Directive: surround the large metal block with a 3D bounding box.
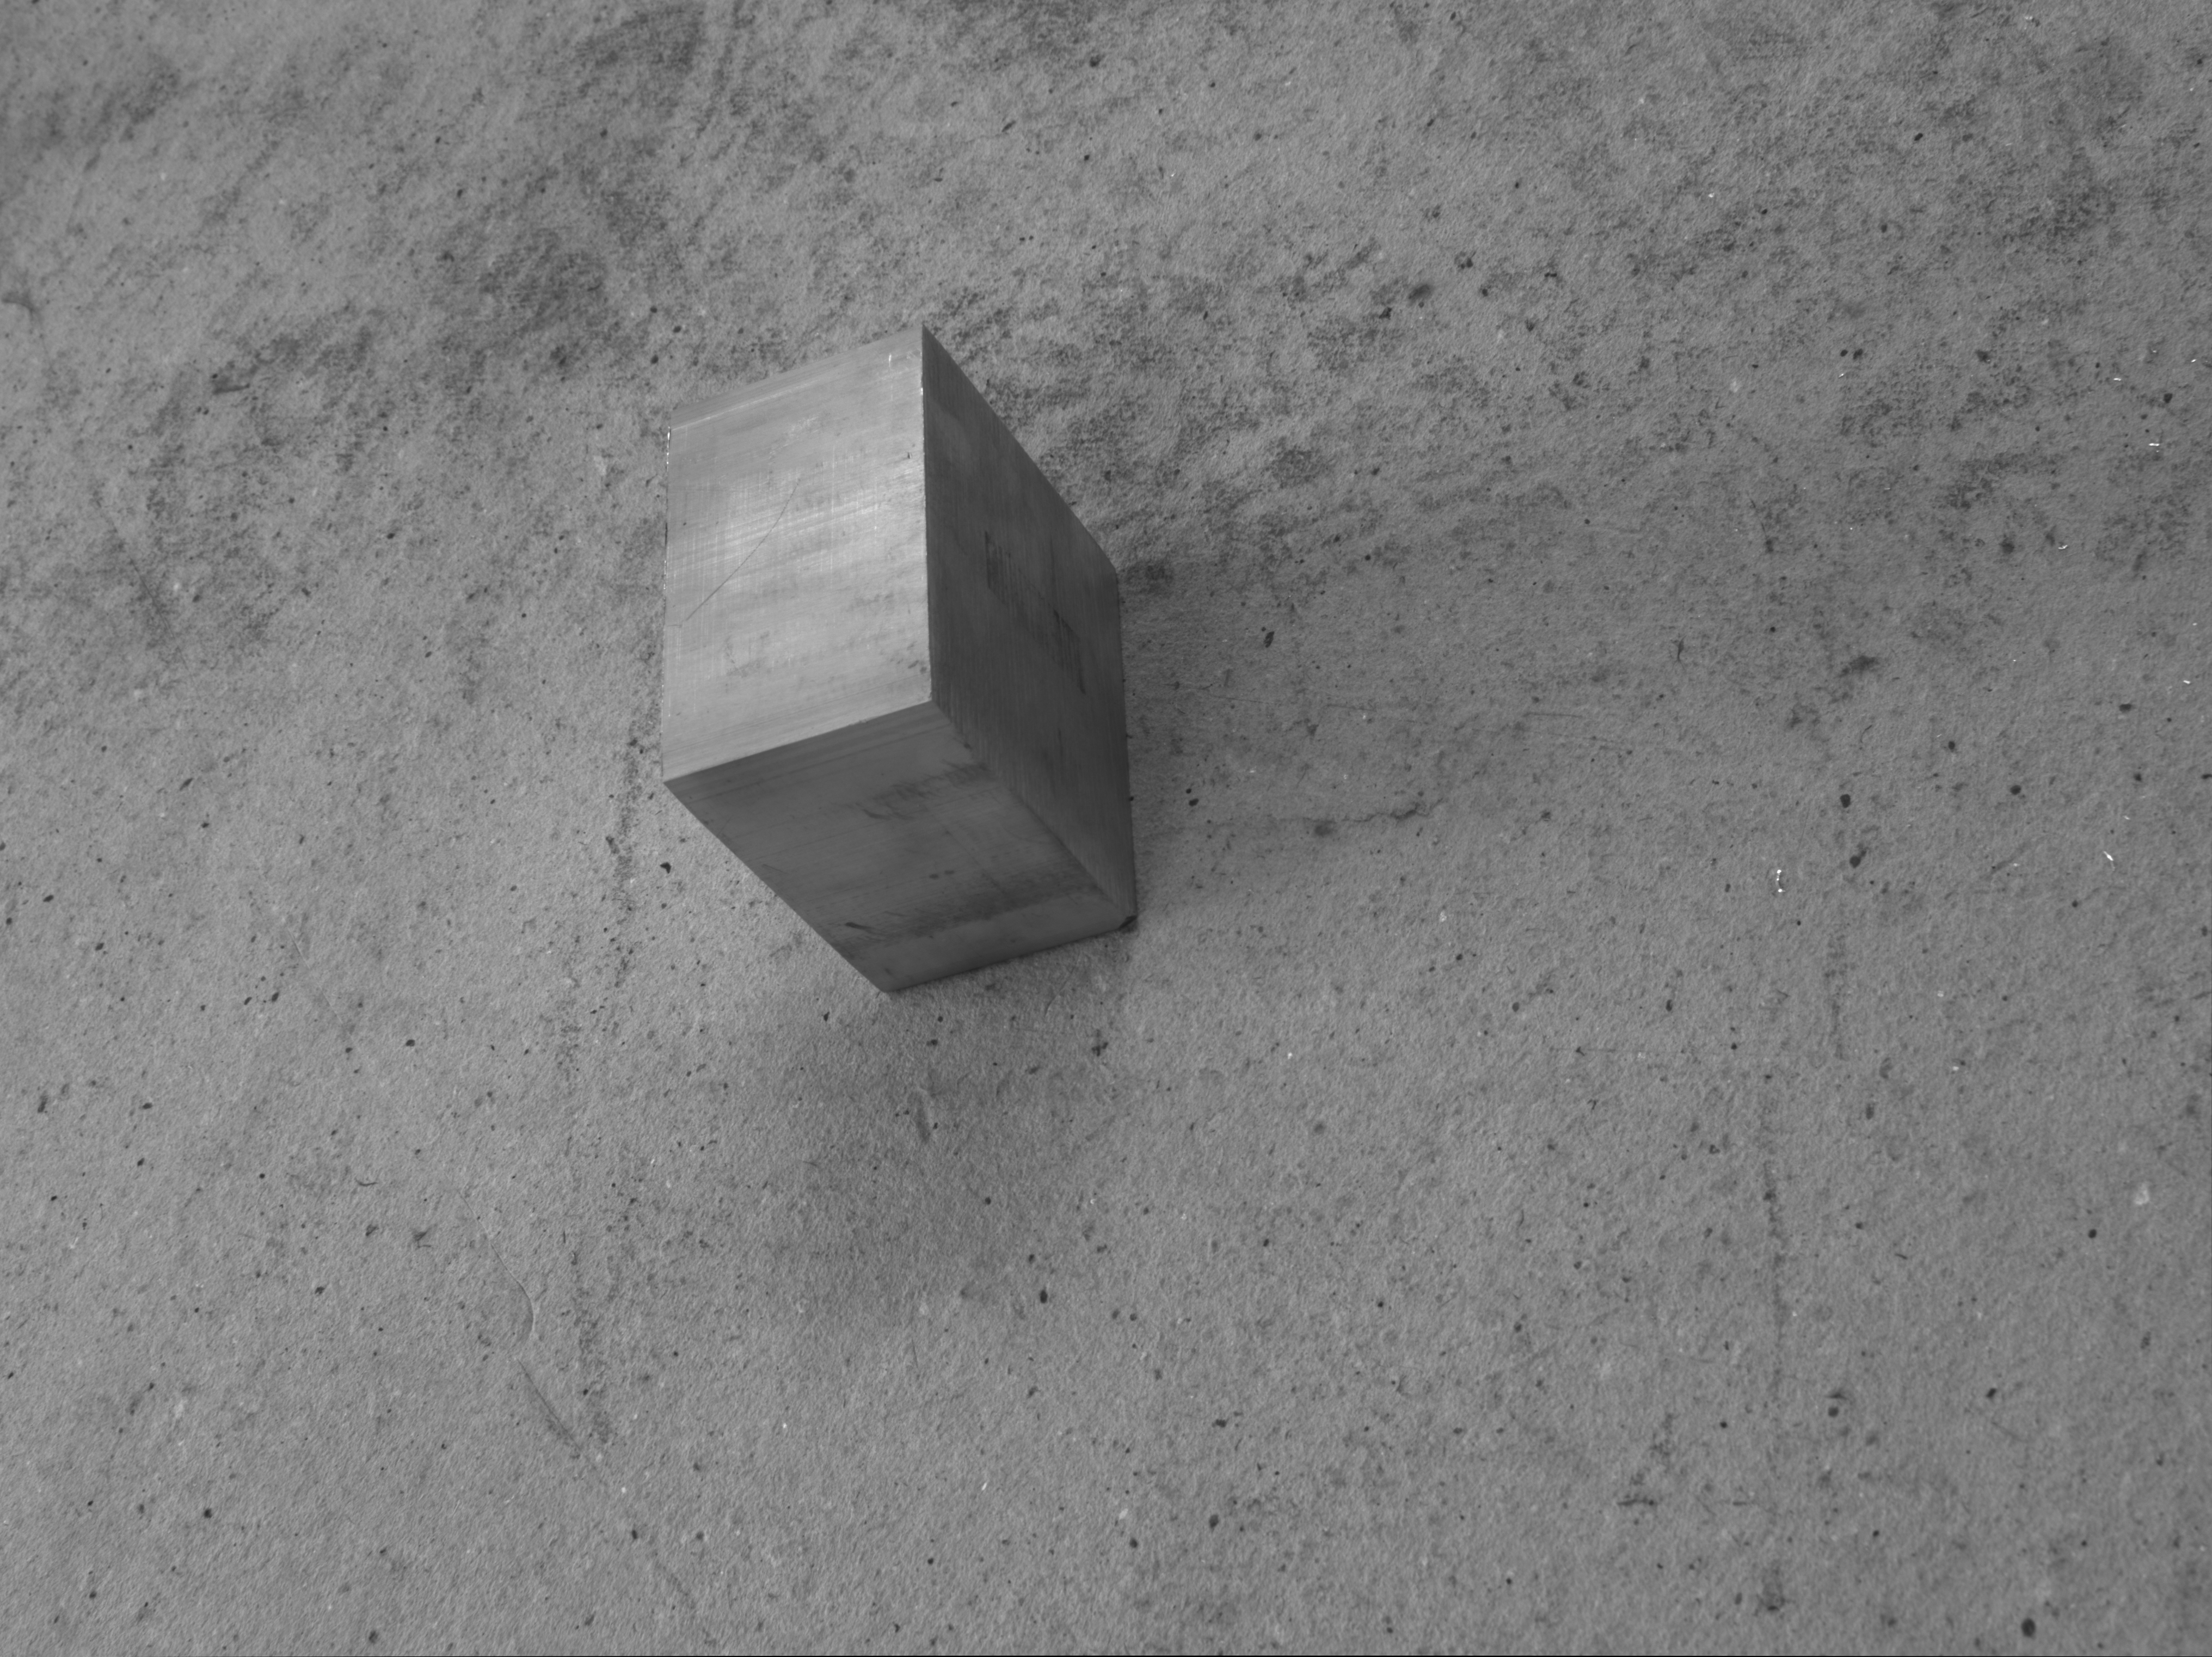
[{"bbox_3d":[-0.036,-0.028,0.647,0.050,0.080,0.080,-16,55,19],"label":"large metal block"}]
